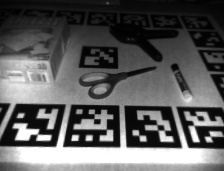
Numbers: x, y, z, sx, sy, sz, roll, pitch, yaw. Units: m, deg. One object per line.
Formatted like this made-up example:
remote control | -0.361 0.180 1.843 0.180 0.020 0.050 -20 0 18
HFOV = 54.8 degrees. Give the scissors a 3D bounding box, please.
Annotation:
scissors | 0.018 -0.022 0.515 0.204 0.016 0.086 -19 47 -25

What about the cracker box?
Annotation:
cracker box | -0.215 -0.099 0.544 0.164 0.072 0.212 2 44 -1

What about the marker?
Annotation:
marker | 0.160 -0.018 0.518 0.020 0.020 0.120 -2 44 -4

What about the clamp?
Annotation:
clamp | 0.067 -0.148 0.655 0.201 0.037 0.166 23 46 18
